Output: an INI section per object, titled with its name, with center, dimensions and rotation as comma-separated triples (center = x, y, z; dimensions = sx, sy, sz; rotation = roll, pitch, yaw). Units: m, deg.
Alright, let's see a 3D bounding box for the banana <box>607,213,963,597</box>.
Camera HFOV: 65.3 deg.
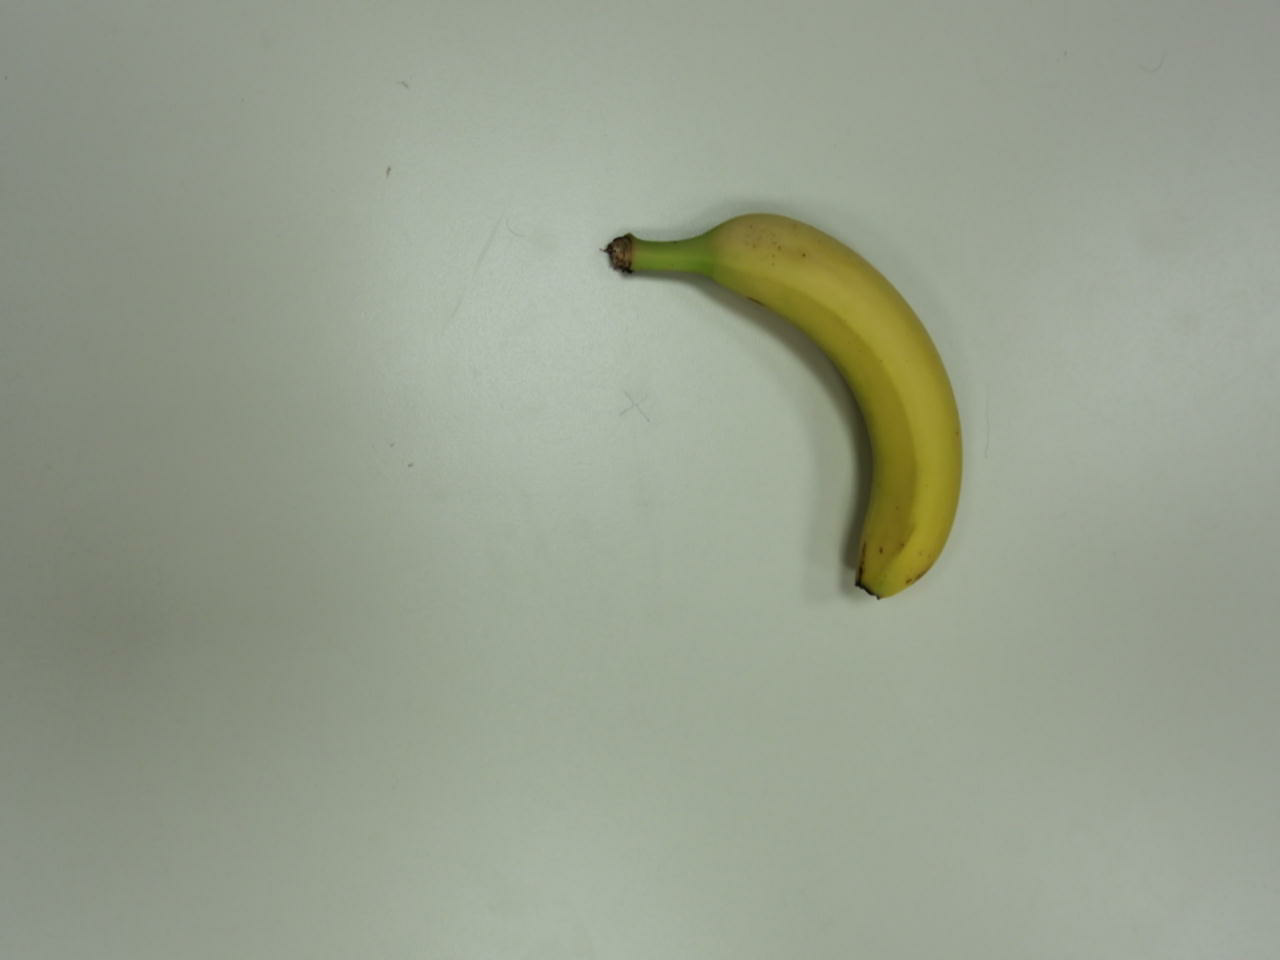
[banana]
center = 0.081, -0.050, 0.437
dimensions = 0.094, 0.041, 0.196
rotation = -37, 97, -9
